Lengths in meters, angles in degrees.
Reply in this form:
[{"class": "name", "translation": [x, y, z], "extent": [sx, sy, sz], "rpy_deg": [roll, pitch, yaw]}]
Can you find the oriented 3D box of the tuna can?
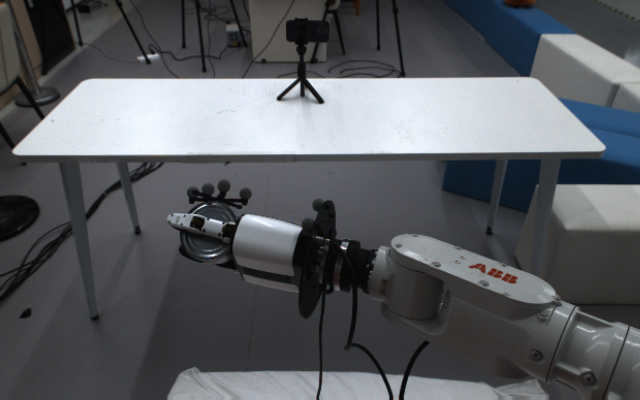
[{"class": "tuna can", "translation": [-0.150, 0.046, 0.678], "extent": [0.085, 0.034, 0.085], "rpy_deg": [-3, 73, 9]}]
